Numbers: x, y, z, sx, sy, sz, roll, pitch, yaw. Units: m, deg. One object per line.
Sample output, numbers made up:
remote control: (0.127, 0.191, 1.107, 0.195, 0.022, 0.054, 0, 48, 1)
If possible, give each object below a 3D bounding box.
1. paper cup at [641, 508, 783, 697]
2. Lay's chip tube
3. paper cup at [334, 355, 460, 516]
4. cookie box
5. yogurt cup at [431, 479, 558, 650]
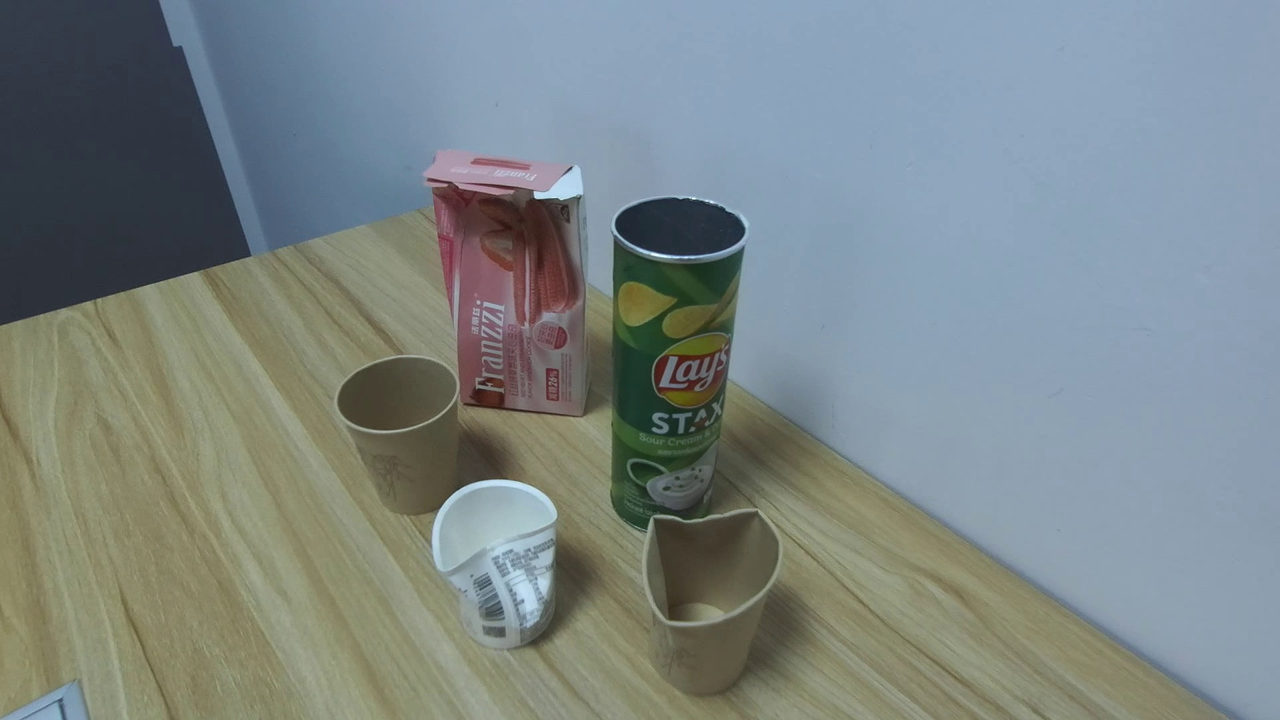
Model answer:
paper cup: (0.036, 0.128, 0.362, 0.072, 0.084, 0.066, -5, 38, -7)
Lay's chip tube: (0.018, 0.011, 0.412, 0.071, 0.203, 0.071, 1, 38, -1)
paper cup: (-0.148, 0.052, 0.454, 0.075, 0.082, 0.075, 2, 36, -1)
cookie box: (-0.089, -0.046, 0.502, 0.118, 0.184, 0.055, 9, 37, 10)
yogurt cup: (-0.076, 0.114, 0.388, 0.067, 0.070, 0.067, 0, 39, 0)
